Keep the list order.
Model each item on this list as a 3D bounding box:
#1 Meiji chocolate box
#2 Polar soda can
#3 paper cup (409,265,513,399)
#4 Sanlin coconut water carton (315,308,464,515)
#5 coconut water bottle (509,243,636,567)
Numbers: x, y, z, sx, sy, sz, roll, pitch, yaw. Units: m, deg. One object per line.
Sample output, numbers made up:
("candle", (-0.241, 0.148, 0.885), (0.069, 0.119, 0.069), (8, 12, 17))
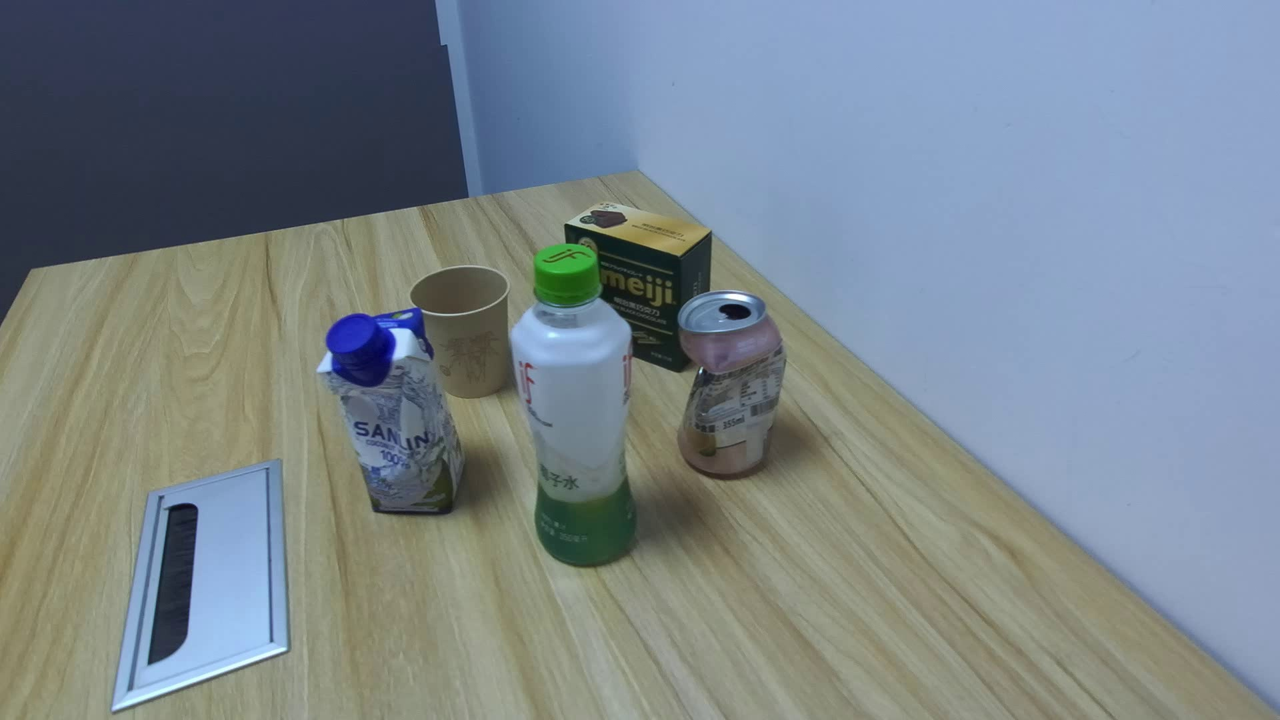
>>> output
("Meiji chocolate box", (0.000, -0.060, 0.578), (0.109, 0.109, 0.056), (20, 42, 27))
("Polar soda can", (0.053, 0.016, 0.468), (0.067, 0.122, 0.070), (-29, 43, -27))
("paper cup", (-0.133, -0.018, 0.551), (0.075, 0.082, 0.075), (-1, 36, 1))
("Sanlin coconut water carton", (-0.151, 0.028, 0.433), (0.061, 0.144, 0.070), (0, 37, 4))
("coconut water bottle", (-0.034, 0.029, 0.389), (0.063, 0.189, 0.063), (-1, 34, 1))
